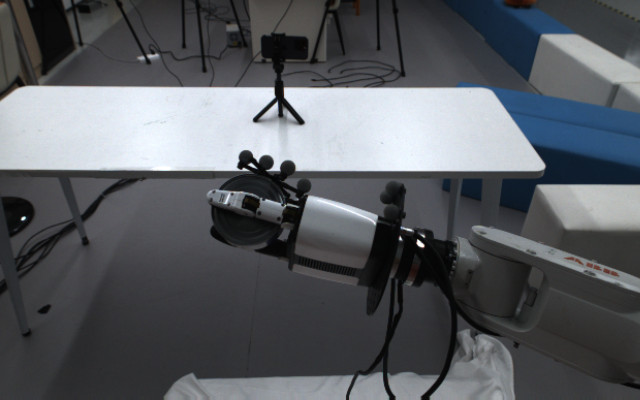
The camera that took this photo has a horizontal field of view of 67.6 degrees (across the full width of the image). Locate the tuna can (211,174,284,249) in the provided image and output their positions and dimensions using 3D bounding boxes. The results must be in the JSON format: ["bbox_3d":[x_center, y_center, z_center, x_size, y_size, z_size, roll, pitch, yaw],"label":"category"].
[{"bbox_3d":[-0.080,0.014,0.567,0.085,0.034,0.085,0,72,0],"label":"tuna can"}]
